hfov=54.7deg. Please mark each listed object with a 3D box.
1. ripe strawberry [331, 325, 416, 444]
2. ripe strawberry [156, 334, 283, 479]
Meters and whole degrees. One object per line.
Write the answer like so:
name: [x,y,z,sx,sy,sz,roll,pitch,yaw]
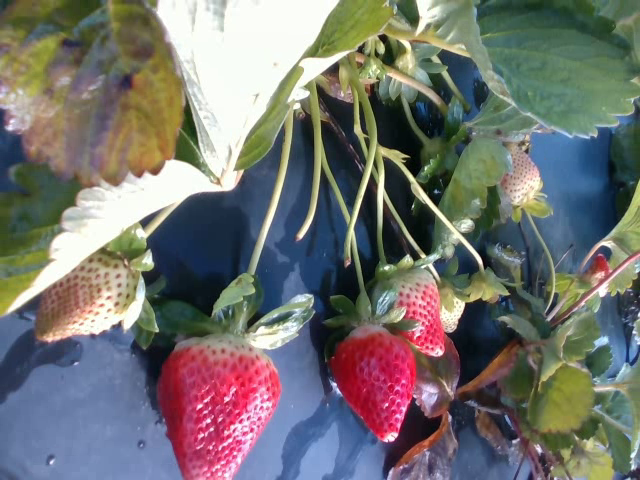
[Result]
ripe strawberry: [0.025,0.069,0.281,0.044,0.055,0.042,-7,-29,-8]
ripe strawberry: [-0.038,0.066,0.223,0.050,0.065,0.050,16,-38,-15]
